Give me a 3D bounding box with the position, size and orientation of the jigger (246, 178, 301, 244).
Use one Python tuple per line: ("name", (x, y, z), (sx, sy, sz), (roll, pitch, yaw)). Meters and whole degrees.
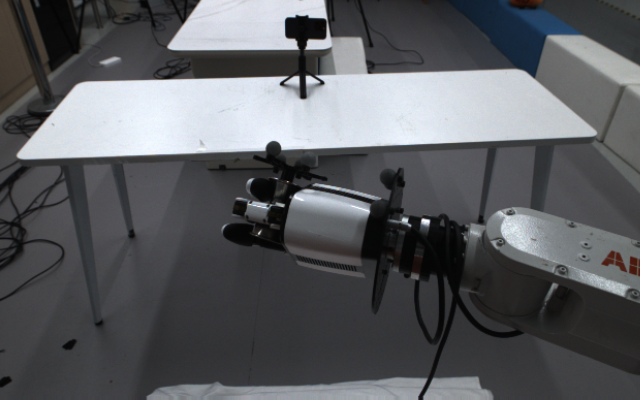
("jigger", (-0.051, 0.011, 0.549), (0.043, 0.071, 0.043), (18, -6, 2))
